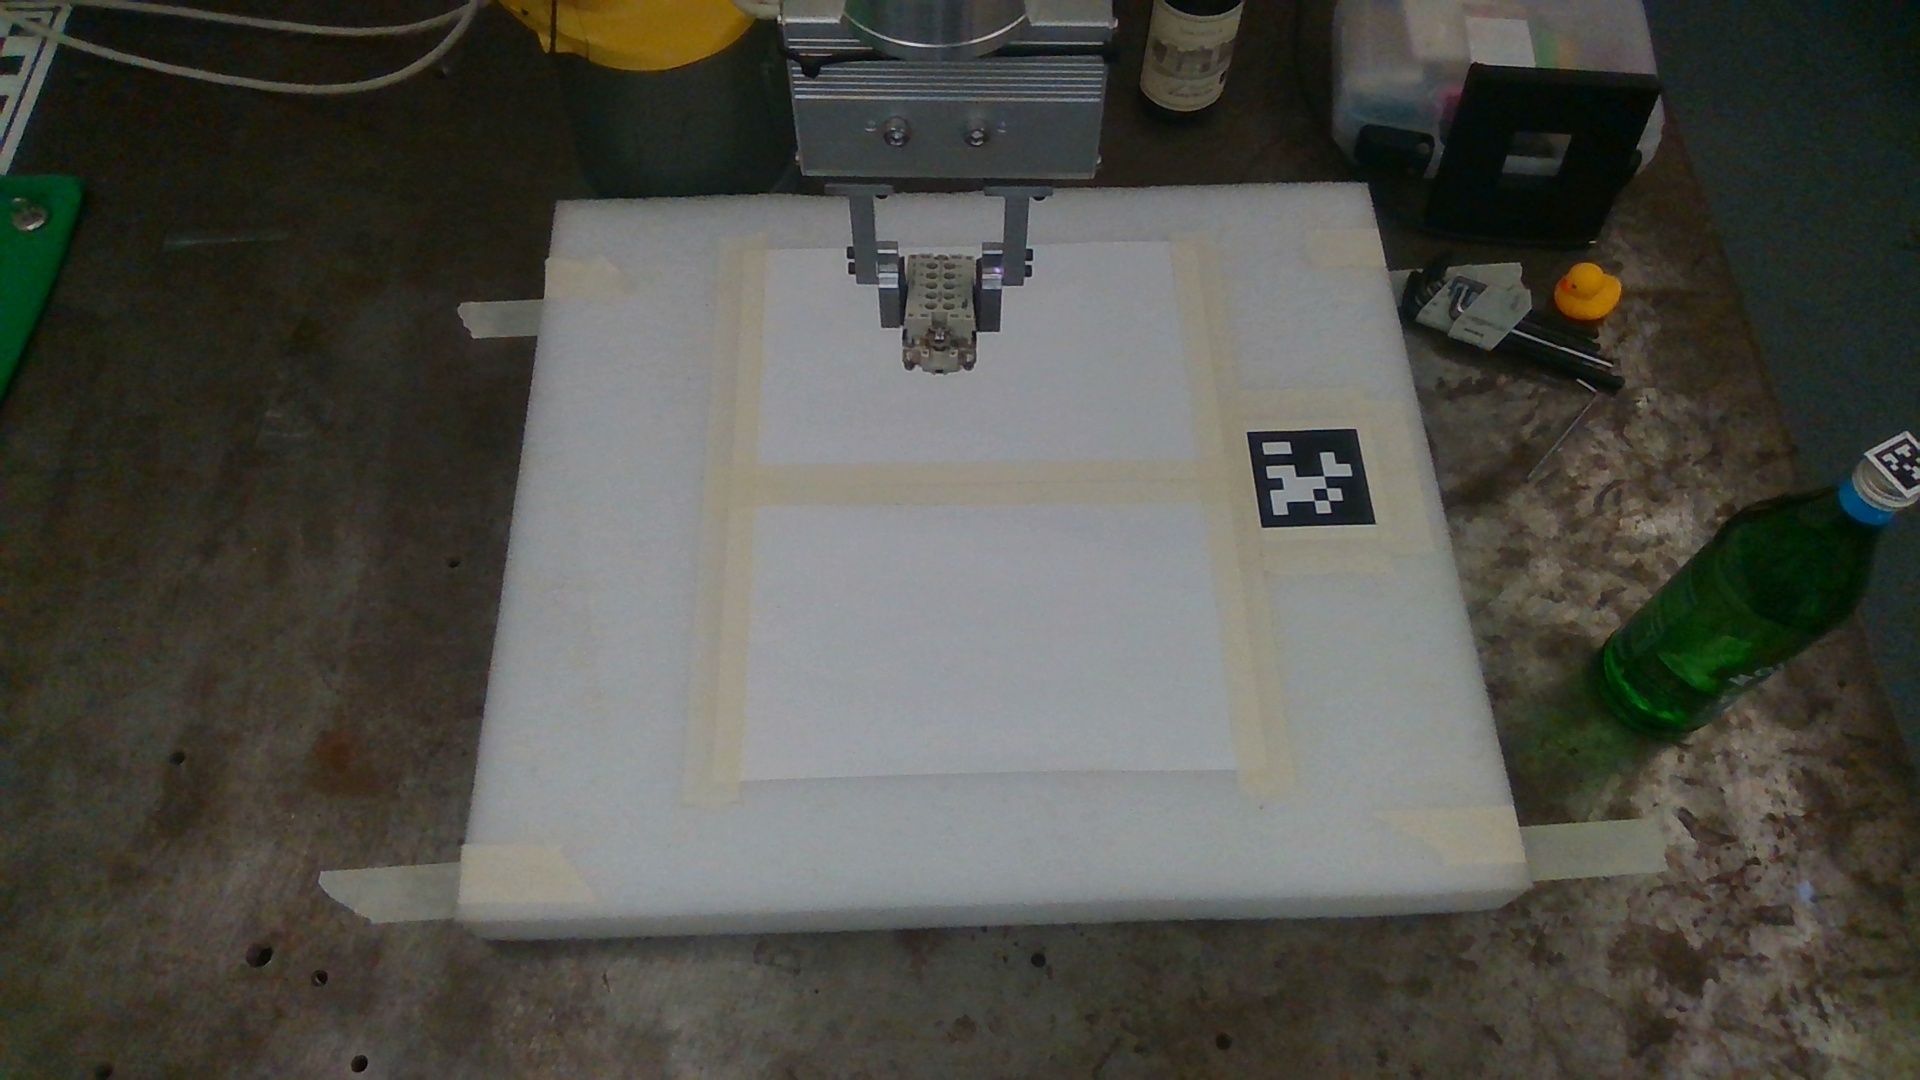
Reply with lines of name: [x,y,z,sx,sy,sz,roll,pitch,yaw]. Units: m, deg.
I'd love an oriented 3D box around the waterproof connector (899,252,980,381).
waterproof connector: [-0.010,-0.105,0.650,0.037,0.038,0.069,0,51,-1]
